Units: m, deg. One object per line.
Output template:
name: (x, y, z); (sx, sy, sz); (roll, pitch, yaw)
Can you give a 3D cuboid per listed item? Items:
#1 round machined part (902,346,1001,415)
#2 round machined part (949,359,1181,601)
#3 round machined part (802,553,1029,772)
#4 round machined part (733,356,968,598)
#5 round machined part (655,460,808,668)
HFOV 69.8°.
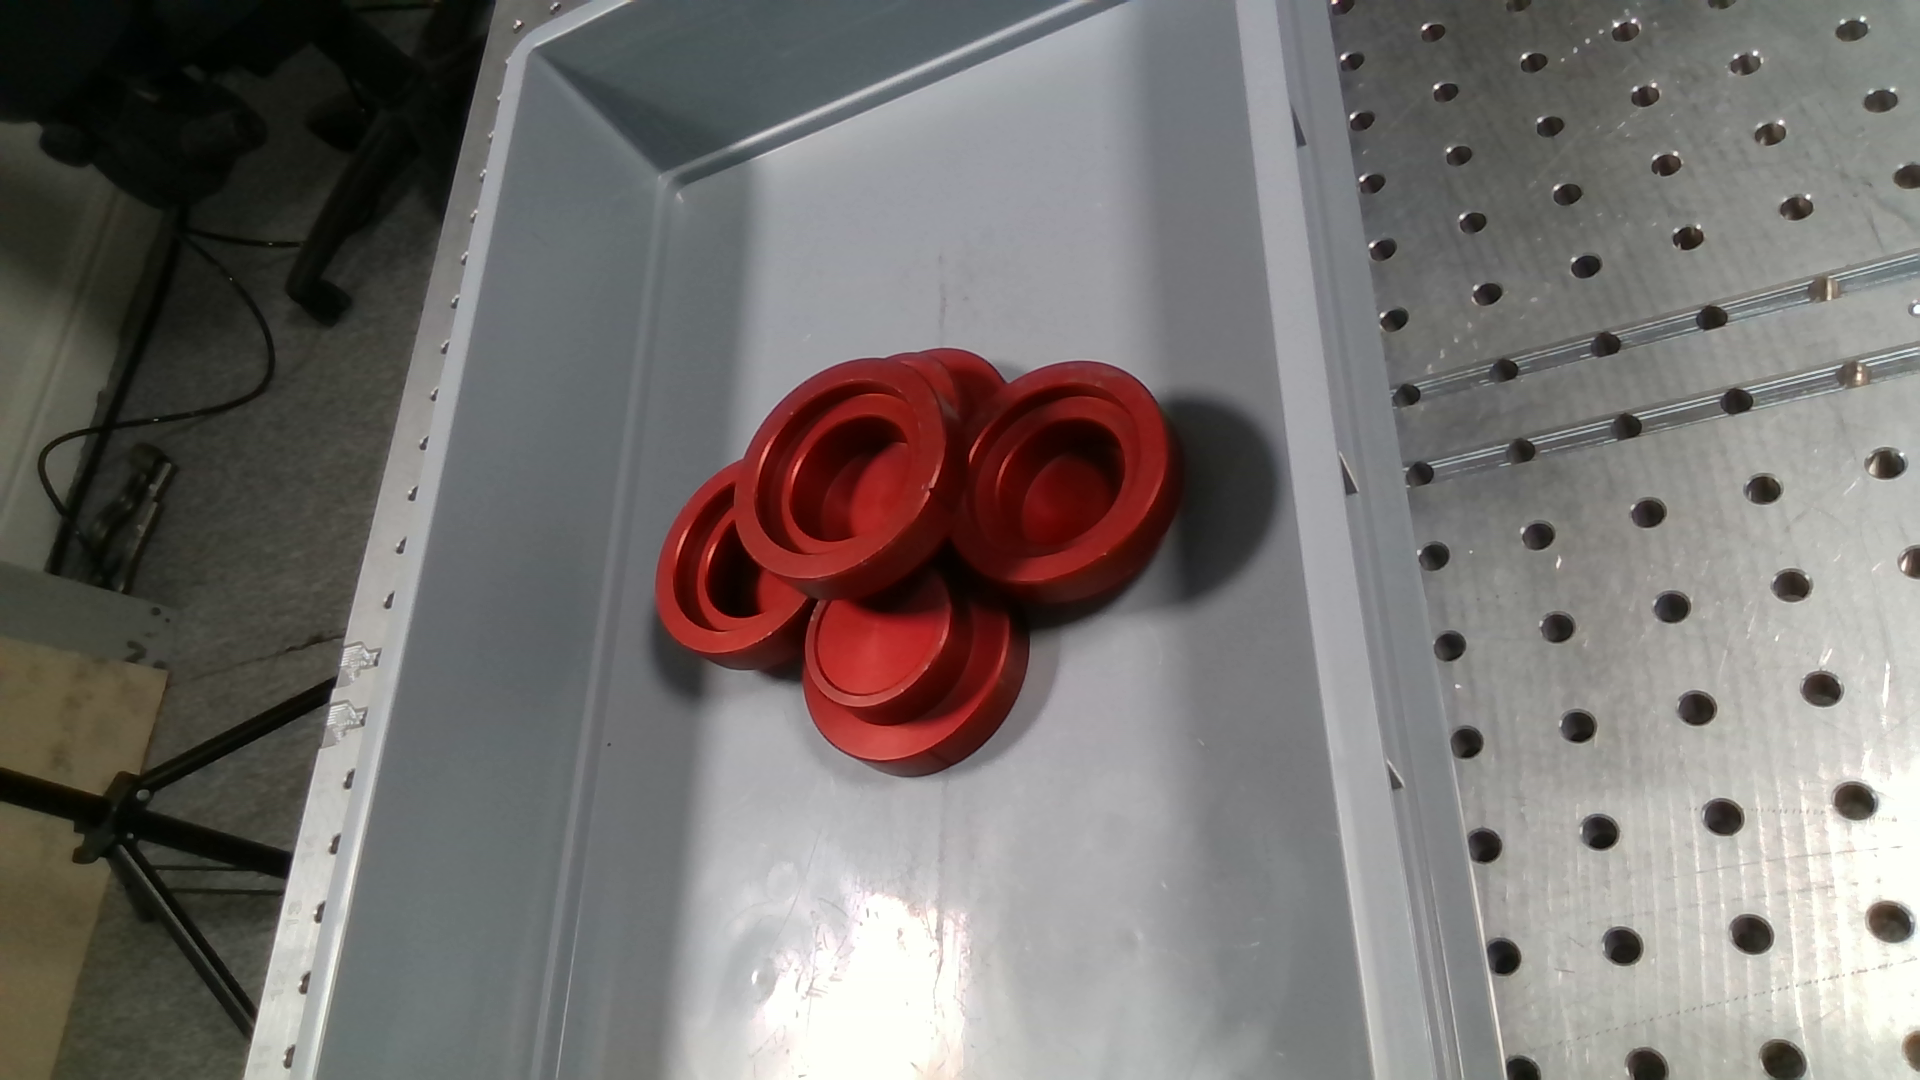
round machined part: (-0.022, -0.044, 0.609); (0.098, 0.042, 0.098); (-14, 59, 25)
round machined part: (0.044, -0.020, 0.556); (0.098, 0.042, 0.098); (-14, 59, 25)
round machined part: (-0.025, 0.043, 0.564); (0.098, 0.042, 0.098); (-14, 59, 25)
round machined part: (-0.039, -0.021, 0.553); (0.098, 0.042, 0.098); (-14, 59, 25)
round machined part: (-0.085, 0.012, 0.619); (0.098, 0.042, 0.098); (-14, 59, 25)
